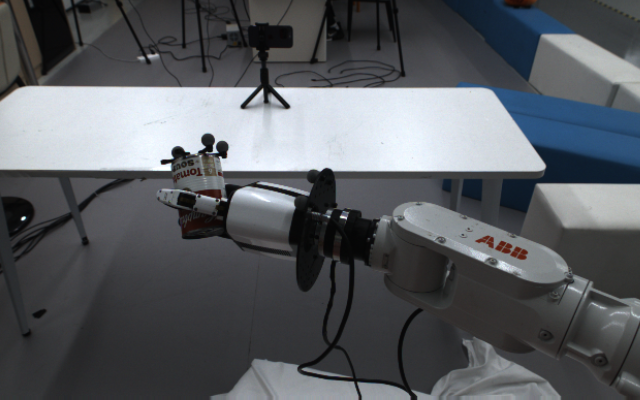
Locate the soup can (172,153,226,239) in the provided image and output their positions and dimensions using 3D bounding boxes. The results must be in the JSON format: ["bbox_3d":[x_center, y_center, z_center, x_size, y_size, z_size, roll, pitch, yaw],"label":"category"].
[{"bbox_3d":[-0.158,-0.002,0.650,0.067,0.067,0.101,-10,80,-17],"label":"soup can"}]
